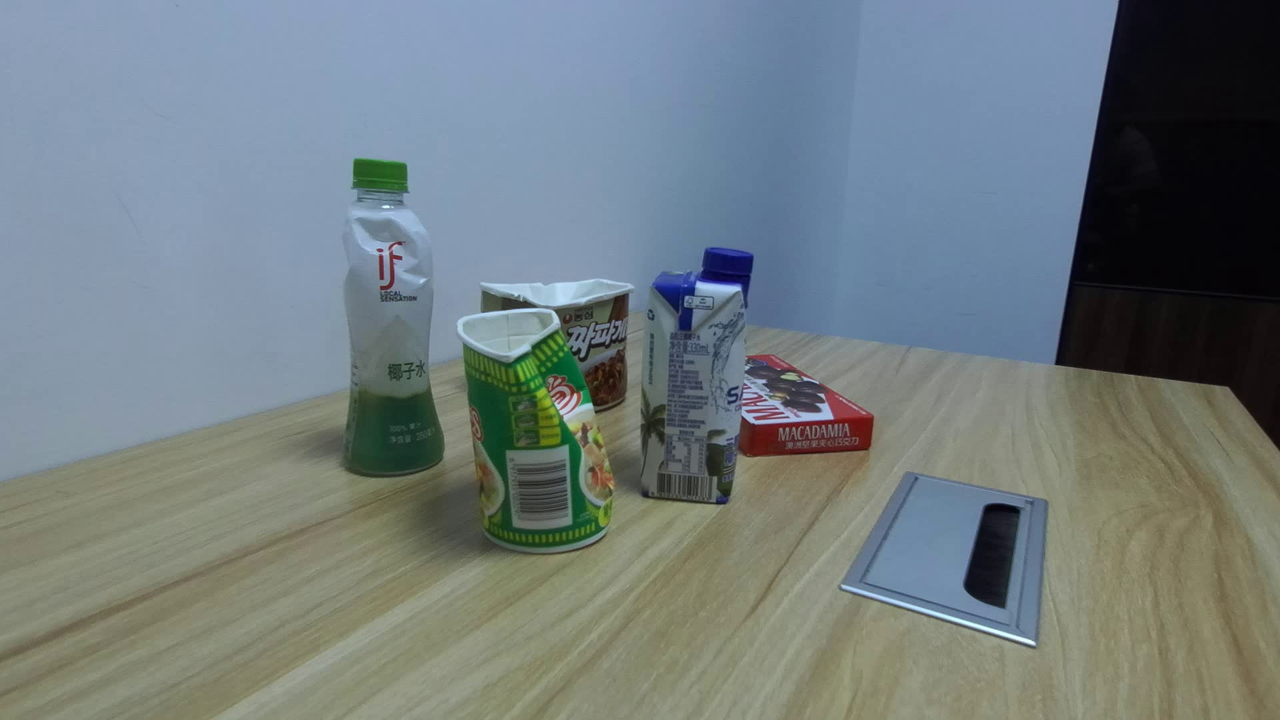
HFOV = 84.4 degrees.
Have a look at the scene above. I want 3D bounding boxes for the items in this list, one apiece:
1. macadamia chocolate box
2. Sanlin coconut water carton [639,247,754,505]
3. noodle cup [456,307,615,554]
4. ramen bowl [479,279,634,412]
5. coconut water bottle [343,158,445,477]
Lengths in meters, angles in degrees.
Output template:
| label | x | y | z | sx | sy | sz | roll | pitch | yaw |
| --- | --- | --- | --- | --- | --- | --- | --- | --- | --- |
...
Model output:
| label | x | y | z | sx | sy | sz | roll | pitch | yaw |
| --- | --- | --- | --- | --- | --- | --- | --- | --- | --- |
| macadamia chocolate box | 0.099 | 0.032 | 0.565 | 0.096 | 0.027 | 0.177 | -3 | 15 | -13 |
| Sanlin coconut water carton | 0.032 | 0.007 | 0.413 | 0.061 | 0.144 | 0.060 | 3 | 16 | 7 |
| noodle cup | -0.051 | 0.034 | 0.367 | 0.075 | 0.122 | 0.083 | 4 | 23 | 38 |
| ramen bowl | -0.057 | -0.016 | 0.590 | 0.113 | 0.097 | 0.134 | 15 | 19 | 42 |
| coconut water bottle | -0.155 | -0.026 | 0.437 | 0.067 | 0.187 | 0.067 | 2 | 13 | 0 |
